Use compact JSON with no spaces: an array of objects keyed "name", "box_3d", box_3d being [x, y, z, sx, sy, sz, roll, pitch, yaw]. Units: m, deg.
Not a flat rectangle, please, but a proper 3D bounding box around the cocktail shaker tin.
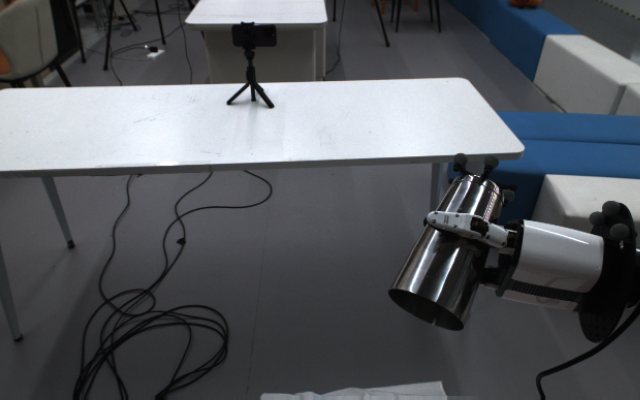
[{"name":"cocktail shaker tin","box_3d":[0.161,0.052,0.575,0.093,0.093,0.170,20,67,24]}]
